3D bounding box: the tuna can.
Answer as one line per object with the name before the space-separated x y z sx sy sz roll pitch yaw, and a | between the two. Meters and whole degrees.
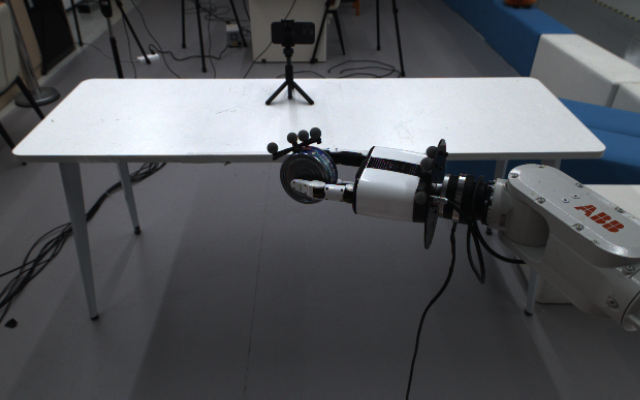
tuna can | -0.015 -0.031 0.744 0.085 0.085 0.034 15 29 17
